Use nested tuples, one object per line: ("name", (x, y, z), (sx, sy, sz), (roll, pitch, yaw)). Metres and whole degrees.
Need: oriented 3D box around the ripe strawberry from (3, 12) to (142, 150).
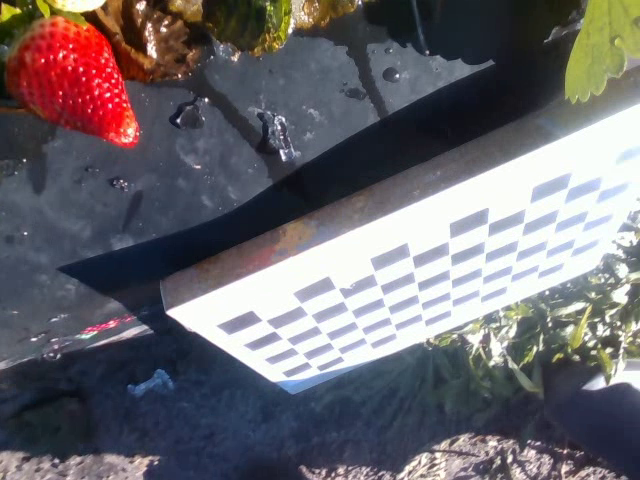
("ripe strawberry", (-0.076, -0.048, 0.208), (0.040, 0.053, 0.042), (-45, -6, 32))
